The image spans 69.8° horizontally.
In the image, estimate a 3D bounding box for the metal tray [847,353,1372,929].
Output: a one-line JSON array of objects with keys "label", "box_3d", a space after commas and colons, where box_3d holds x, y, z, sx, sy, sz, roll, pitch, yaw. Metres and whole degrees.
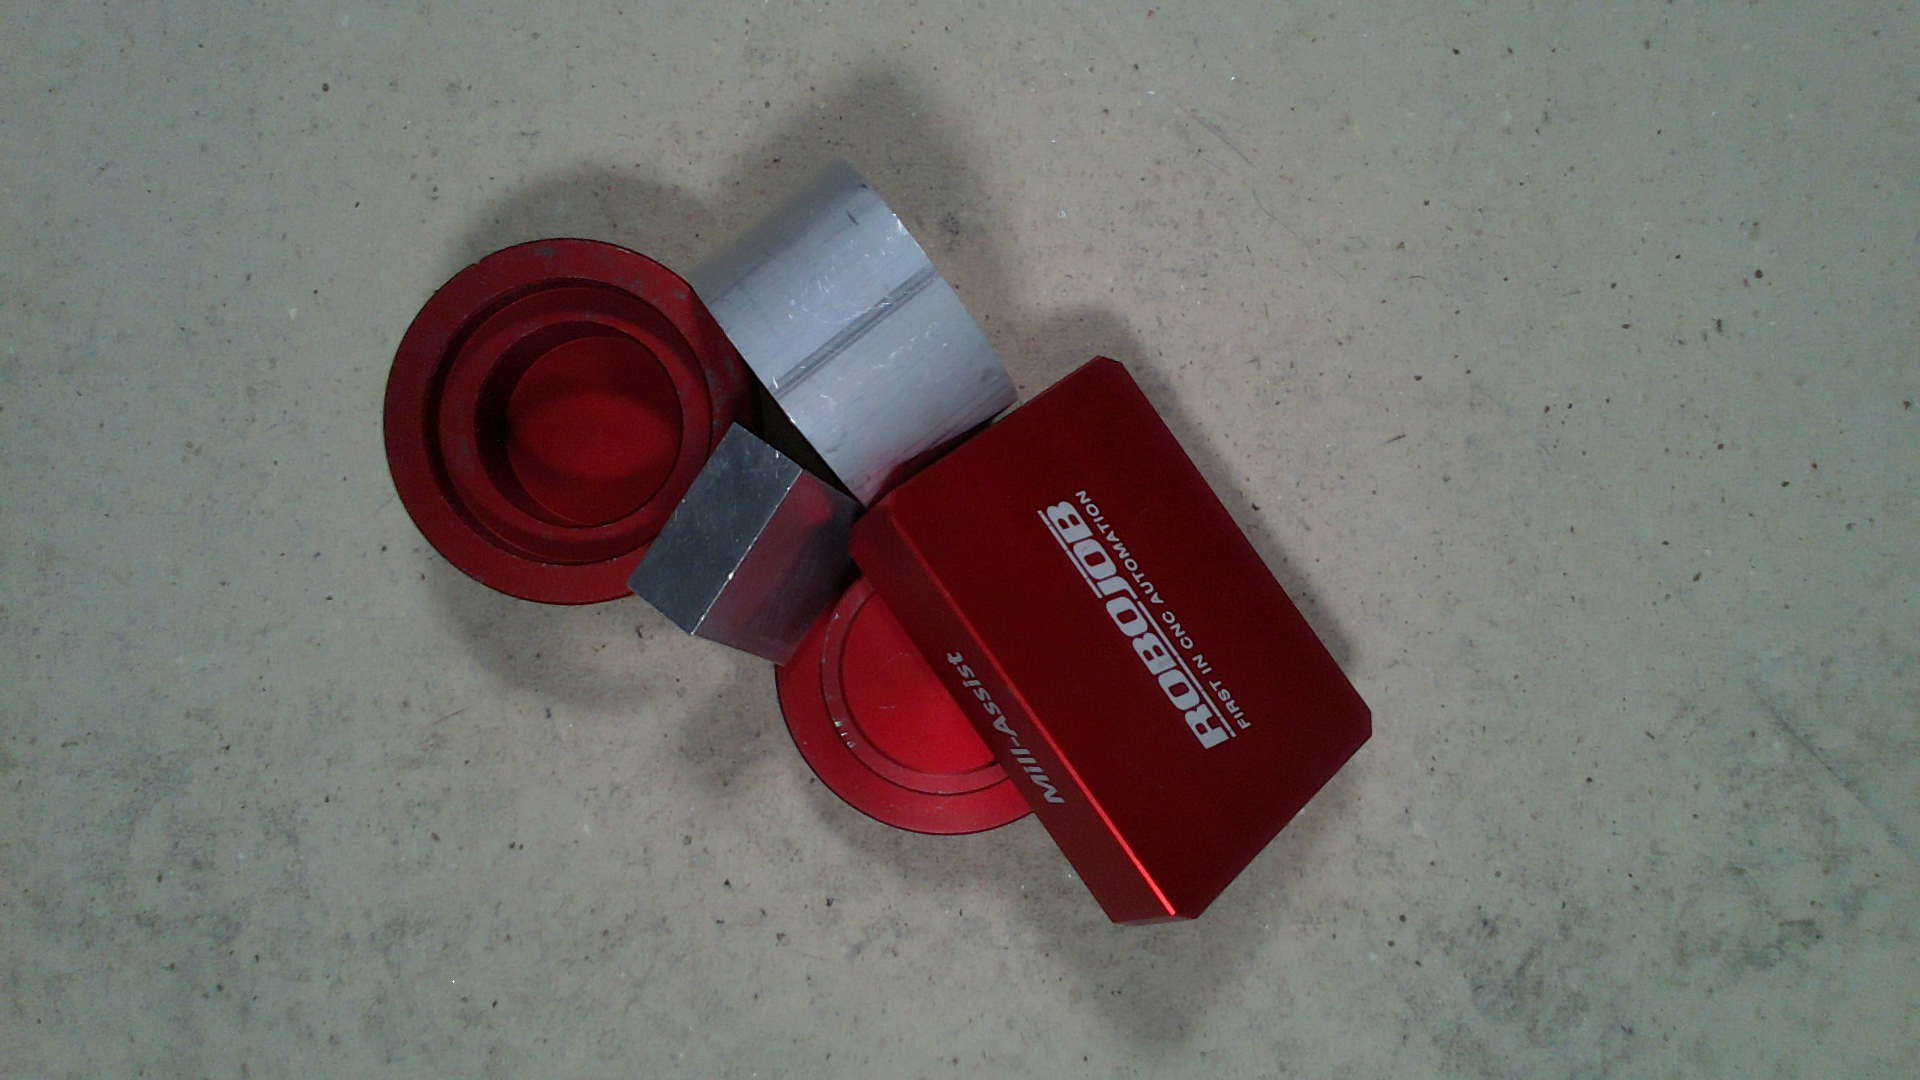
[{"label": "metal tray", "box_3d": [0.043, 0.025, 0.371, 0.090, 0.030, 0.130, -35, 90, -32]}]

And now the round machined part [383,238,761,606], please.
[{"label": "round machined part", "box_3d": [-0.105, -0.031, 0.386, 0.098, 0.042, 0.098, 0, 90, 0]}]

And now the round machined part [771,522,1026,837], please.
[{"label": "round machined part", "box_3d": [-0.004, 0.035, 0.387, 0.098, 0.042, 0.098, 0, 90, 0]}]

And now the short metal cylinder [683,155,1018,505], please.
[{"label": "short metal cylinder", "box_3d": [-0.029, -0.055, 0.368, 0.050, 0.080, 0.080, -38, 90, 0]}]

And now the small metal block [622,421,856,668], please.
[{"label": "small metal block", "box_3d": [-0.053, 0.003, 0.365, 0.025, 0.050, 0.050, 33, 90, 24]}]
